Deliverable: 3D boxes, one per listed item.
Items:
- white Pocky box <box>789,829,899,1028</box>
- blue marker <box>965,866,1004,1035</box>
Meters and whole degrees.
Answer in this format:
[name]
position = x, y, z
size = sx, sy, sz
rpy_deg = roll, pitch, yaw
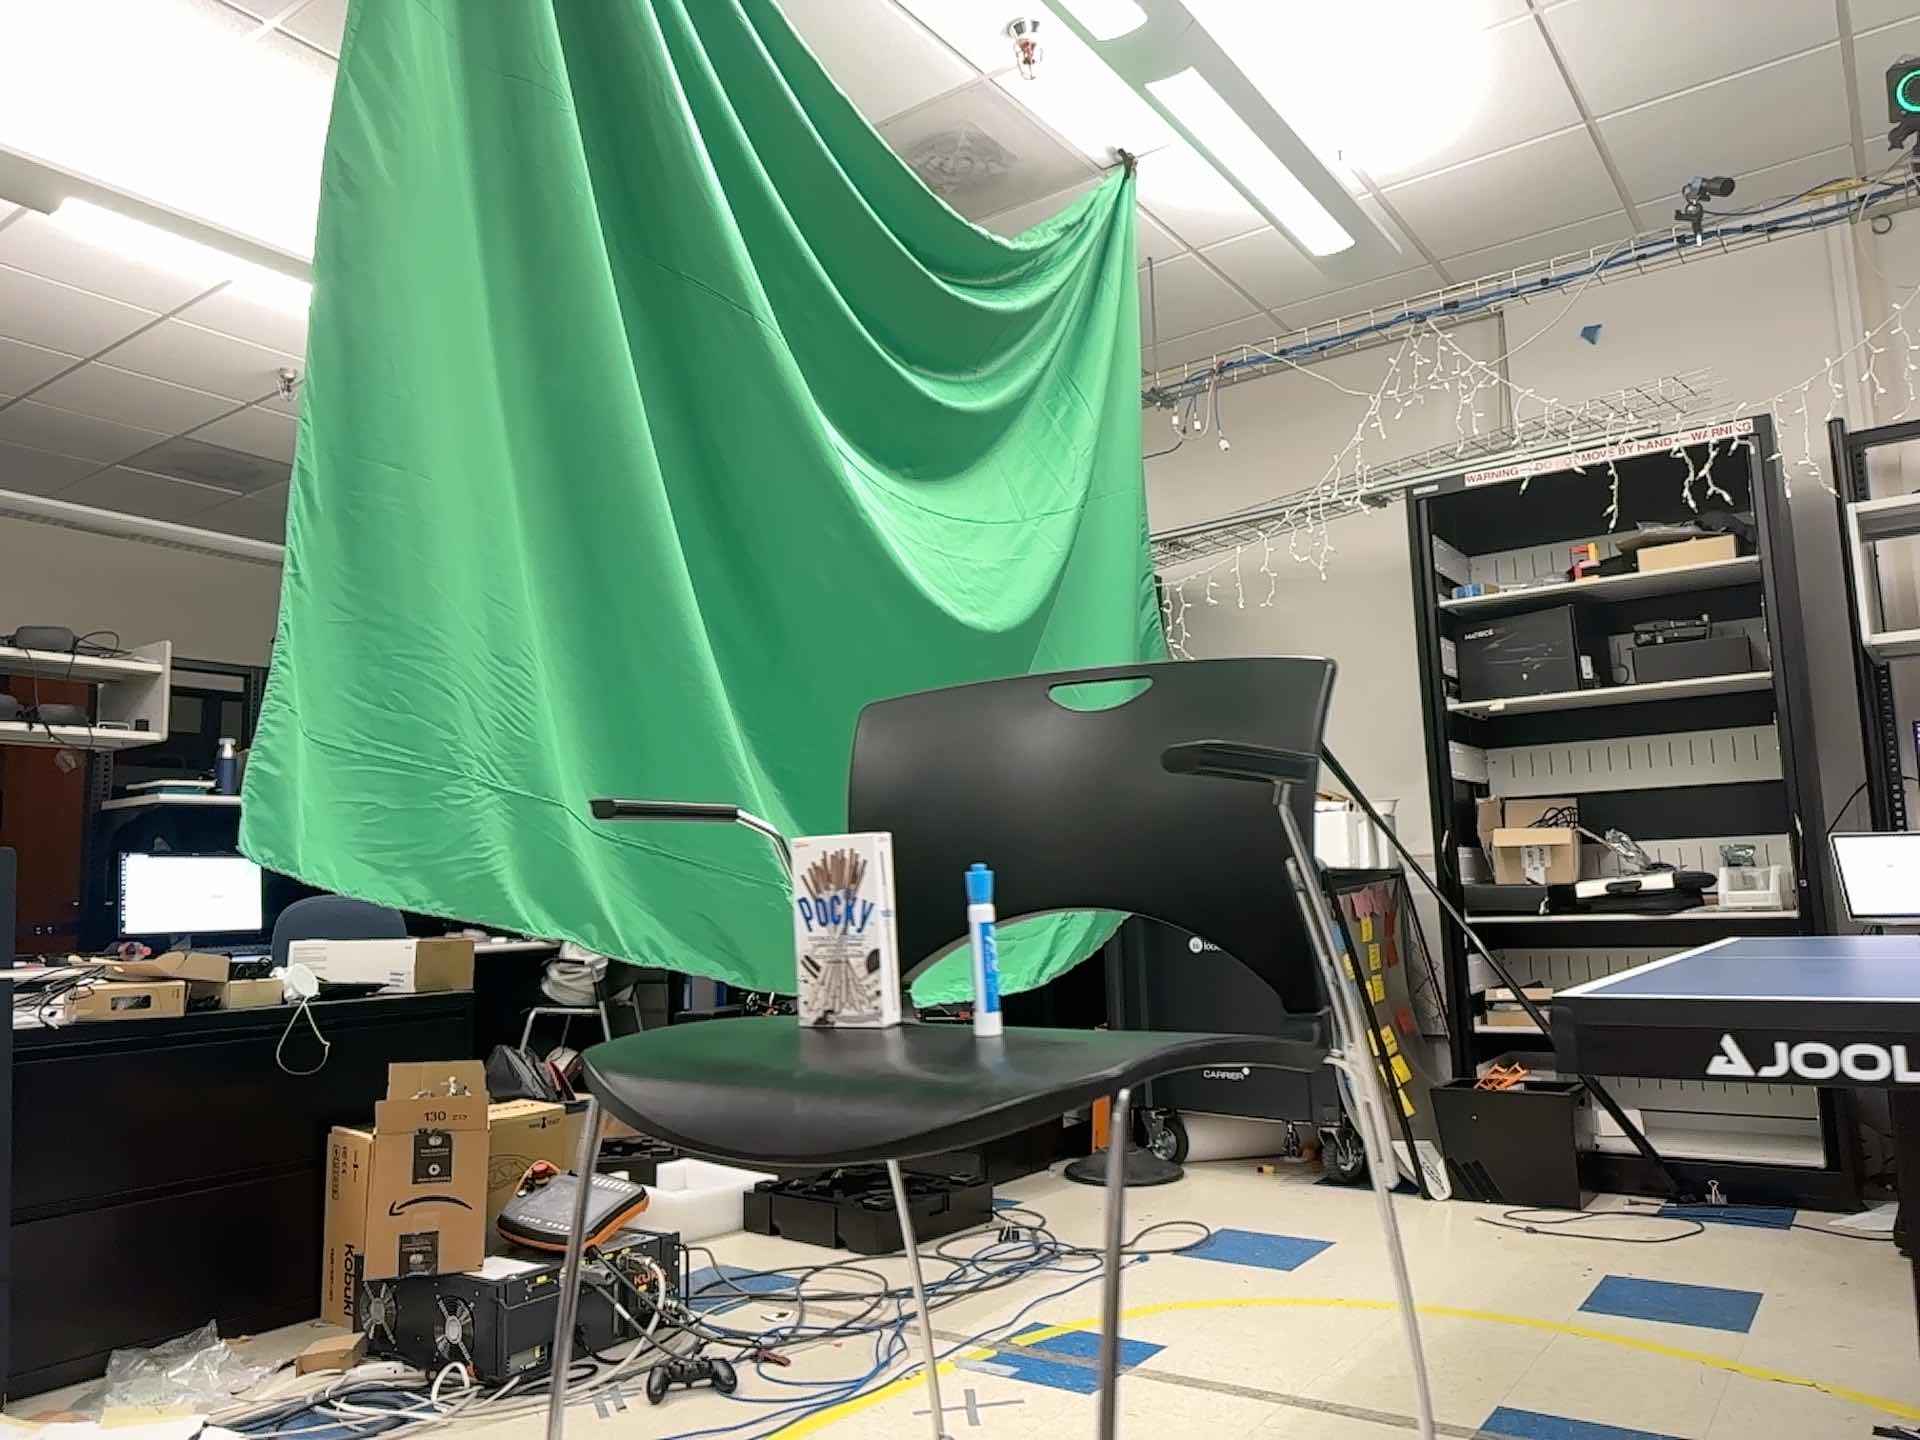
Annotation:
[white Pocky box]
position = -0.094, 0.166, 1.078
size = 0.084, 0.154, 0.028
rpy_deg = -5, -4, 30
[blue marker]
position = 0.017, 0.167, 0.983
size = 0.020, 0.121, 0.020
rpy_deg = -4, -4, 0
